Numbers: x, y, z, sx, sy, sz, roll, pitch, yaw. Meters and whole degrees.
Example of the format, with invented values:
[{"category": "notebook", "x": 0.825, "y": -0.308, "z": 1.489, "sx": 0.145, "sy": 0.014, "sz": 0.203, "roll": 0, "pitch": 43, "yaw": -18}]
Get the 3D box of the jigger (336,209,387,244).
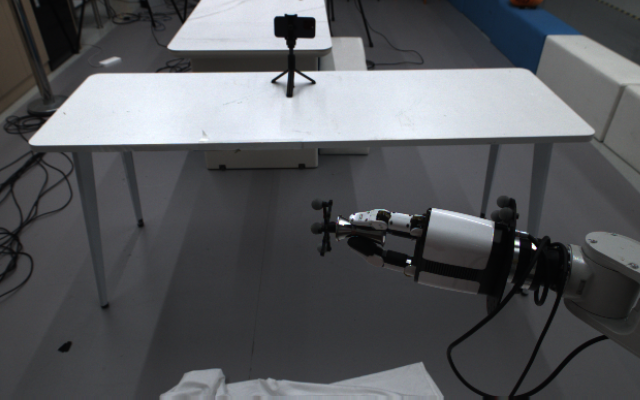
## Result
[{"category": "jigger", "x": 0.067, "y": 0.039, "z": 0.700, "sx": 0.071, "sy": 0.043, "sz": 0.043, "roll": 3, "pitch": 34, "yaw": 13}]
